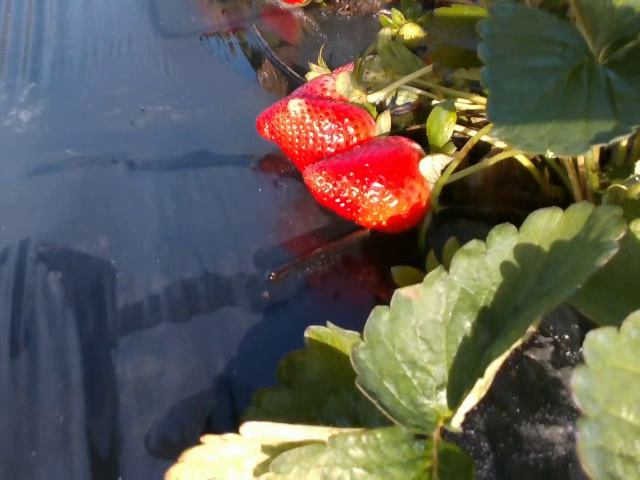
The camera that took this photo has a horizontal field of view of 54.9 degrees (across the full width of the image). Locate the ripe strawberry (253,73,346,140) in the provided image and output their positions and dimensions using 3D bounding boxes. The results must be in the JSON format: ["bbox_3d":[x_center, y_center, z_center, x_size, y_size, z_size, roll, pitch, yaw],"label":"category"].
[{"bbox_3d":[-0.004,-0.051,0.234,0.045,0.023,0.031,-19,41,-4],"label":"ripe strawberry"}]

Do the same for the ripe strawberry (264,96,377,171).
[{"bbox_3d":[0.001,-0.038,0.208,0.039,0.031,0.036,27,-56,-29],"label":"ripe strawberry"}]

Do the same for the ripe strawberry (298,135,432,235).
[{"bbox_3d":[0.010,-0.018,0.189,0.041,0.034,0.035,10,30,-28],"label":"ripe strawberry"}]
